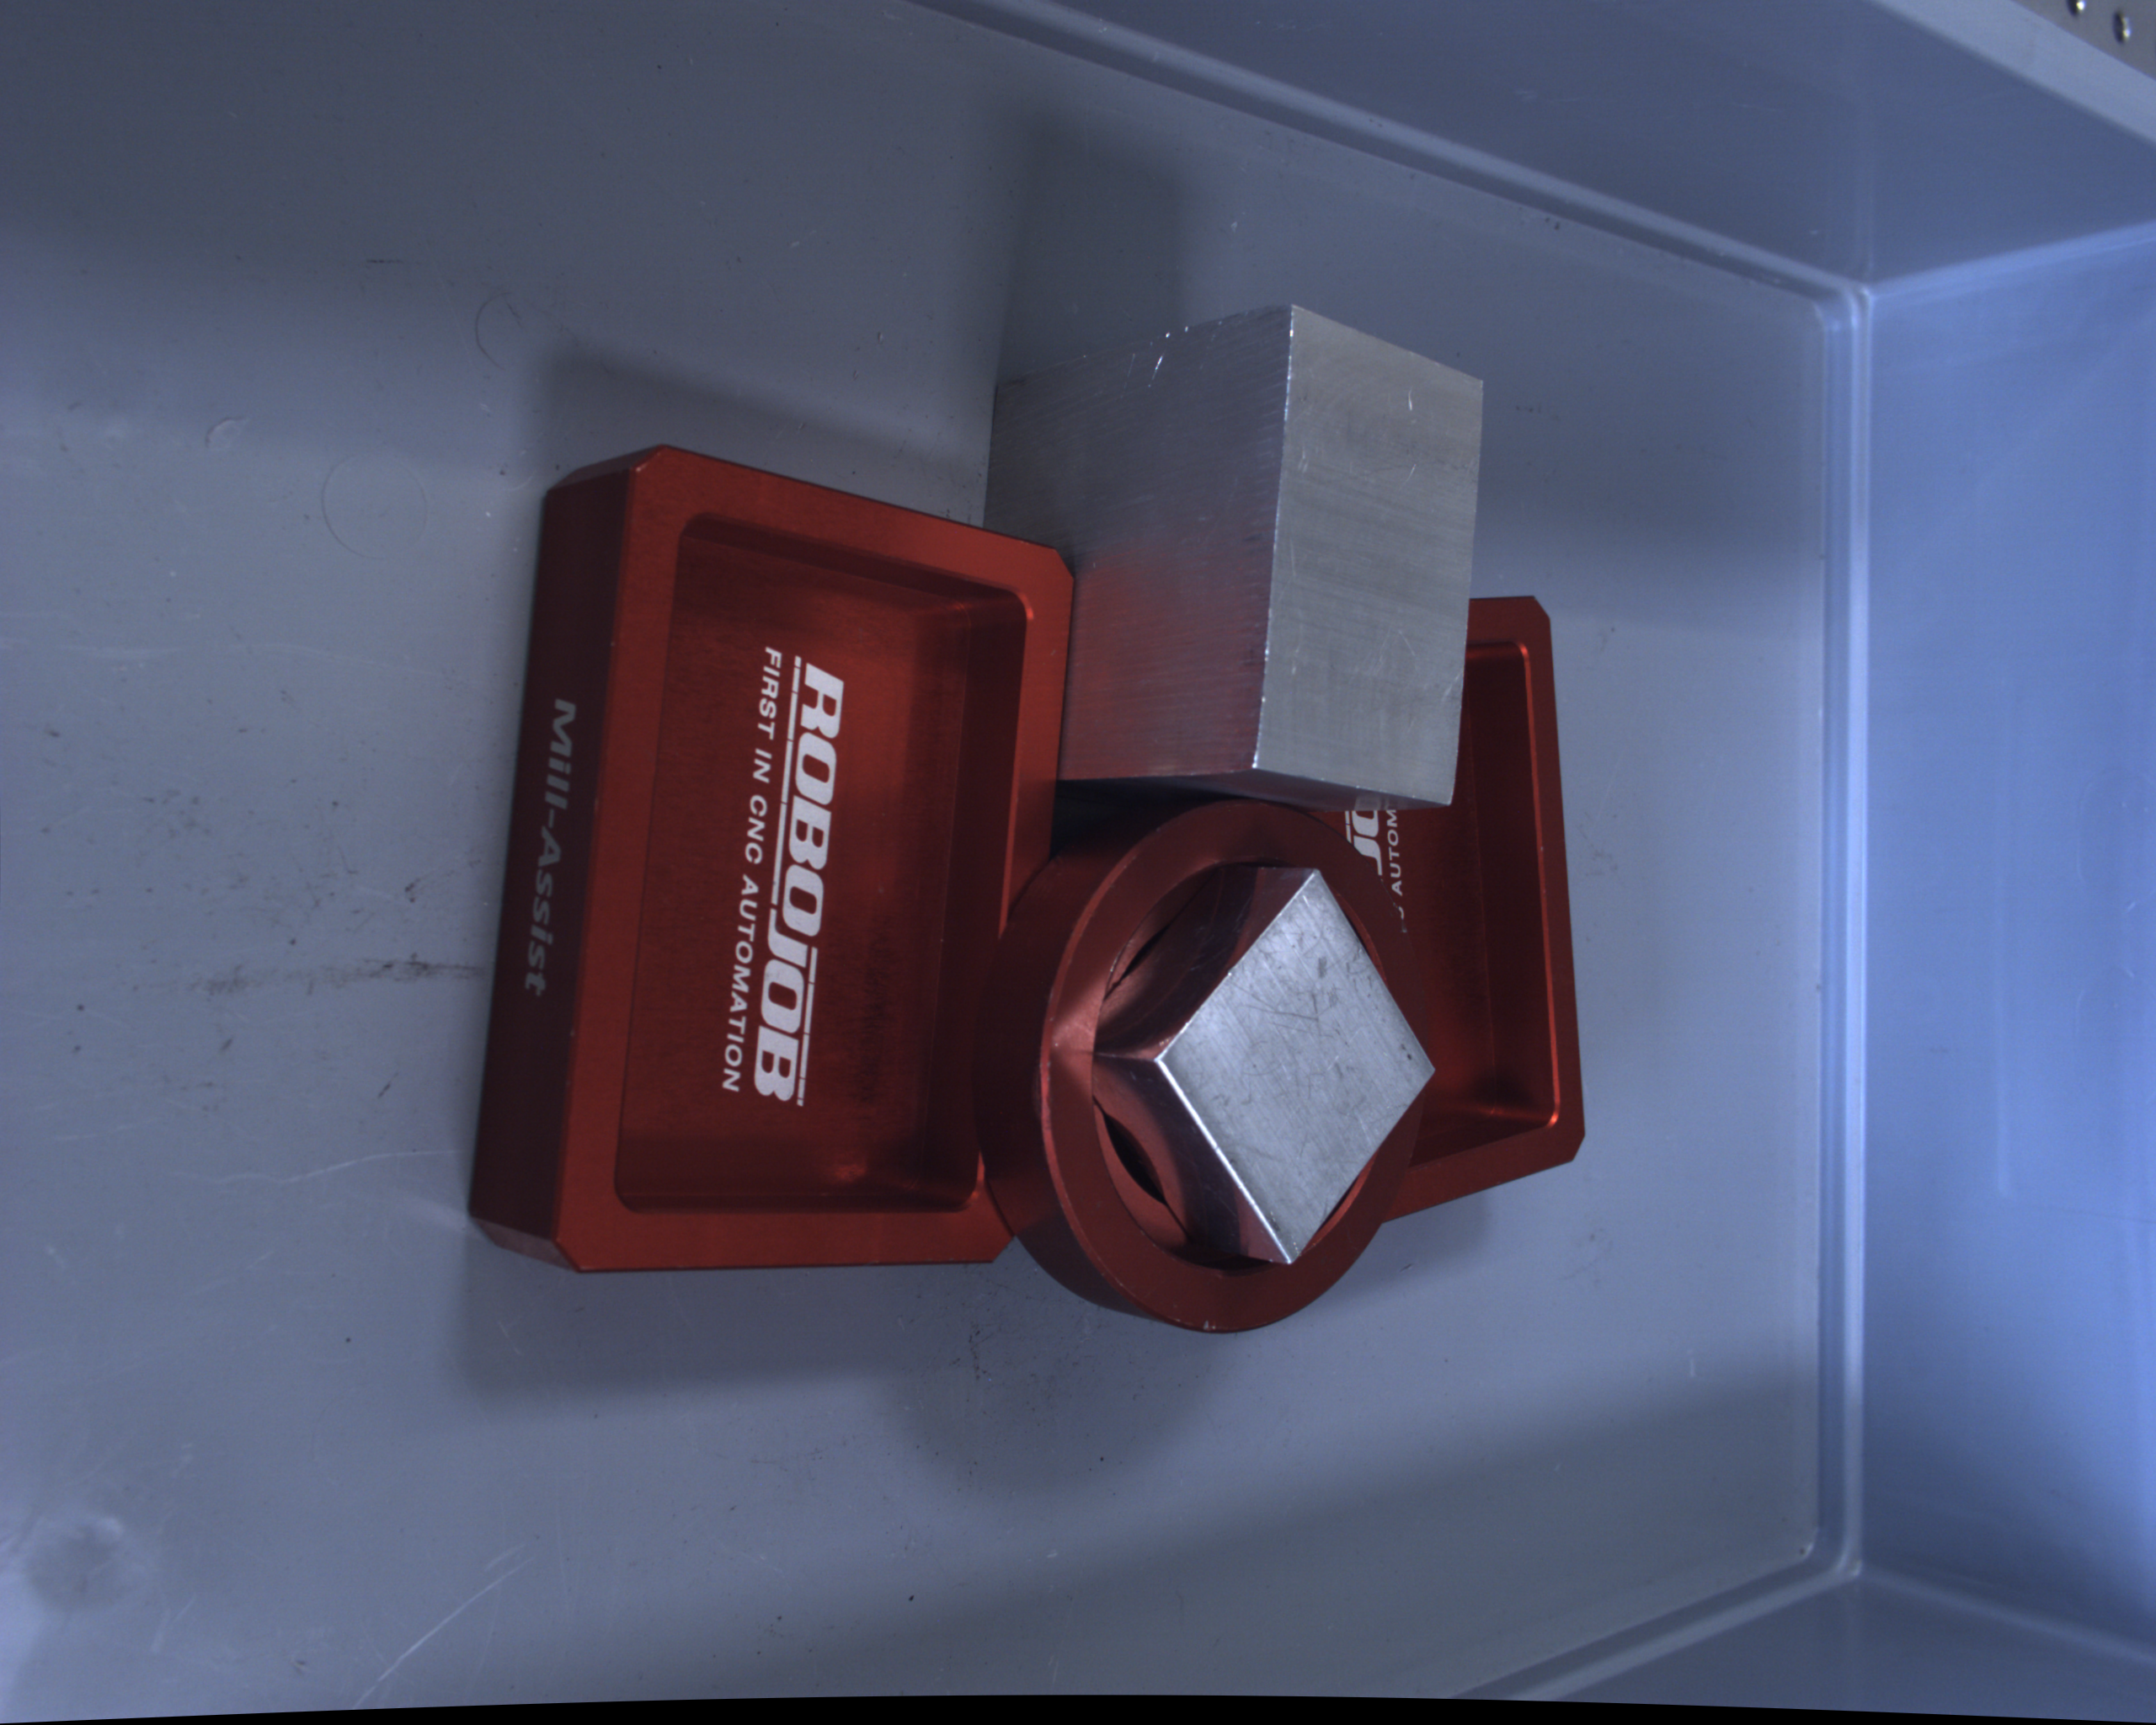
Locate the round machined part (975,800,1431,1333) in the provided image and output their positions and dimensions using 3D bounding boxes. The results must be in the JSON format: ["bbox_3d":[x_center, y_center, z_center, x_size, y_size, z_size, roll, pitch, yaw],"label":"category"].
[{"bbox_3d":[0.019,0.037,0.397,0.099,0.042,0.097,0,90,-40],"label":"round machined part"}]

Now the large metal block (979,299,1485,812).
[{"bbox_3d":[0.025,-0.052,0.390,0.050,0.080,0.080,8,85,-40],"label":"large metal block"}]

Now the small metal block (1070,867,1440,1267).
[{"bbox_3d":[0.033,0.036,0.377,0.050,0.025,0.050,-47,118,-30],"label":"small metal block"}]

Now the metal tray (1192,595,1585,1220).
[{"bbox_3d":[0.068,0.009,0.458,0.091,0.030,0.129,-9,96,-40],"label":"metal tray"}]

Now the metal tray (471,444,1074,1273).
[{"bbox_3d":[-0.049,0.003,0.359,0.091,0.030,0.129,8,85,-40],"label":"metal tray"}]
